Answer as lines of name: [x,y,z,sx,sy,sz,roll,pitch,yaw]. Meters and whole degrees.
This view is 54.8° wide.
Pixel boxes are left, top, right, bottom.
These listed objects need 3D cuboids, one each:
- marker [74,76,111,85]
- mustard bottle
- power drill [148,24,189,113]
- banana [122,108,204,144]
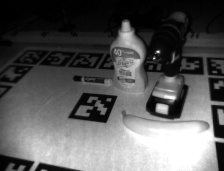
marker: [-0.064,-0.017,0.674,0.120,0.020,0.019,6,43,16]
mustard bottle: [0.044,-0.068,0.580,0.095,0.193,0.058,13,44,23]
power drill: [0.125,-0.031,0.496,0.057,0.188,0.185,16,43,25]
banana: [0.104,0.097,0.497,0.195,0.039,0.074,9,44,22]
